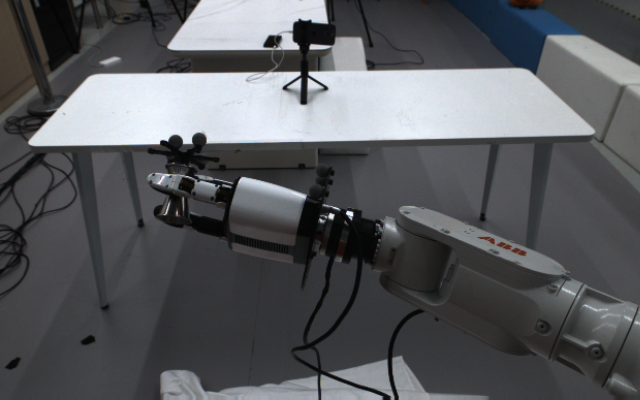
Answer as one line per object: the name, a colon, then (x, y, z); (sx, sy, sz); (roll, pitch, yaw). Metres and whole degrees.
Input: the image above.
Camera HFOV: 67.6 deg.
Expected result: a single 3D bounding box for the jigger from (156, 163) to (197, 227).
jigger: (-0.178, -0.007, 0.605); (0.043, 0.043, 0.071); (4, 75, 2)
